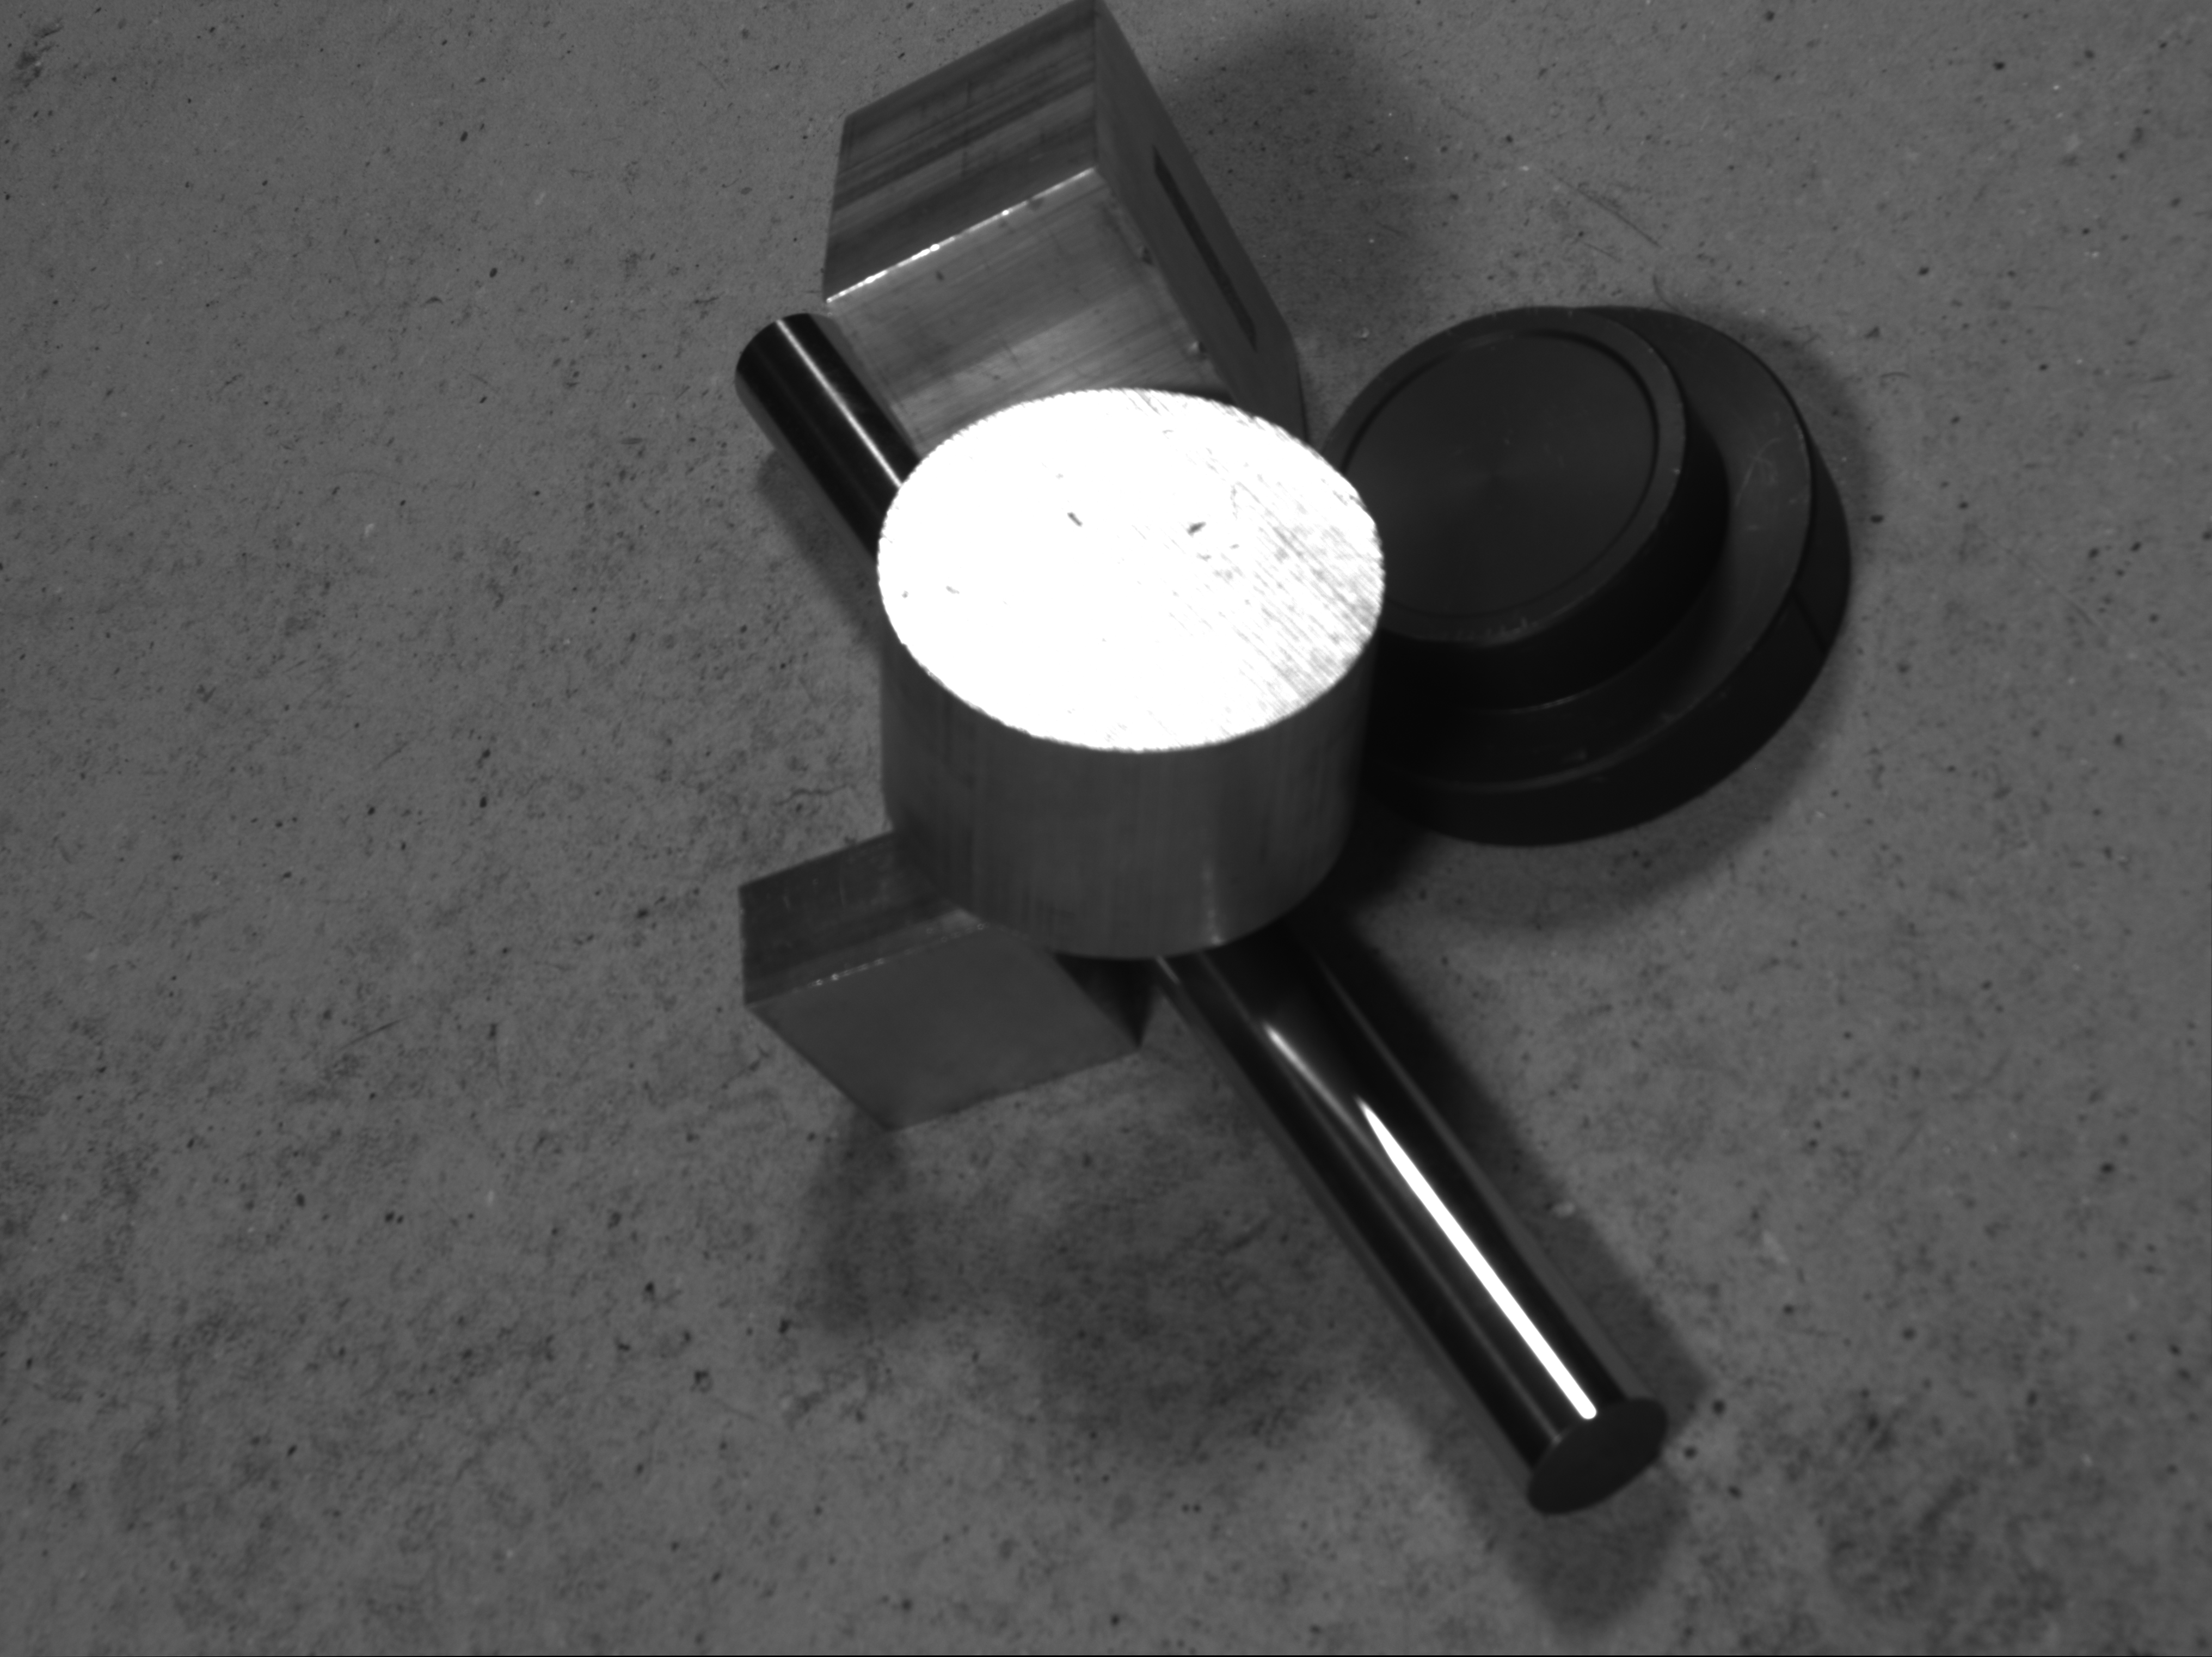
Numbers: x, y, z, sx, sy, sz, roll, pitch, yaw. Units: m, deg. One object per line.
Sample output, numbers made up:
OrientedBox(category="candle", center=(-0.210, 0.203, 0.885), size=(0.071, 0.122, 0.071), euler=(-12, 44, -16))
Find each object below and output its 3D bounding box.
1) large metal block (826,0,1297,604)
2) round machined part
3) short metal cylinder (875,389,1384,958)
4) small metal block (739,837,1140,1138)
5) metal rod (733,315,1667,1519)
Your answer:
OrientedBox(category="large metal block", center=(-0.006, -0.091, 0.654), size=(0.050, 0.080, 0.080), euler=(-25, 30, 15))
OrientedBox(category="round machined part", center=(0.073, -0.050, 0.624), size=(0.098, 0.042, 0.098), euler=(-13, 56, 21))
OrientedBox(category="short metal cylinder", center=(0.003, -0.026, 0.594), size=(0.080, 0.050, 0.080), euler=(1, 49, -1))
OrientedBox(category="small metal block", center=(-0.028, 0.024, 0.629), size=(0.050, 0.050, 0.025), euler=(-19, 53, 16))
OrientedBox(category="metal rod", center=(0.005, 0.001, 0.642), size=(0.025, 0.025, 0.299), euler=(-38, 51, 2))
